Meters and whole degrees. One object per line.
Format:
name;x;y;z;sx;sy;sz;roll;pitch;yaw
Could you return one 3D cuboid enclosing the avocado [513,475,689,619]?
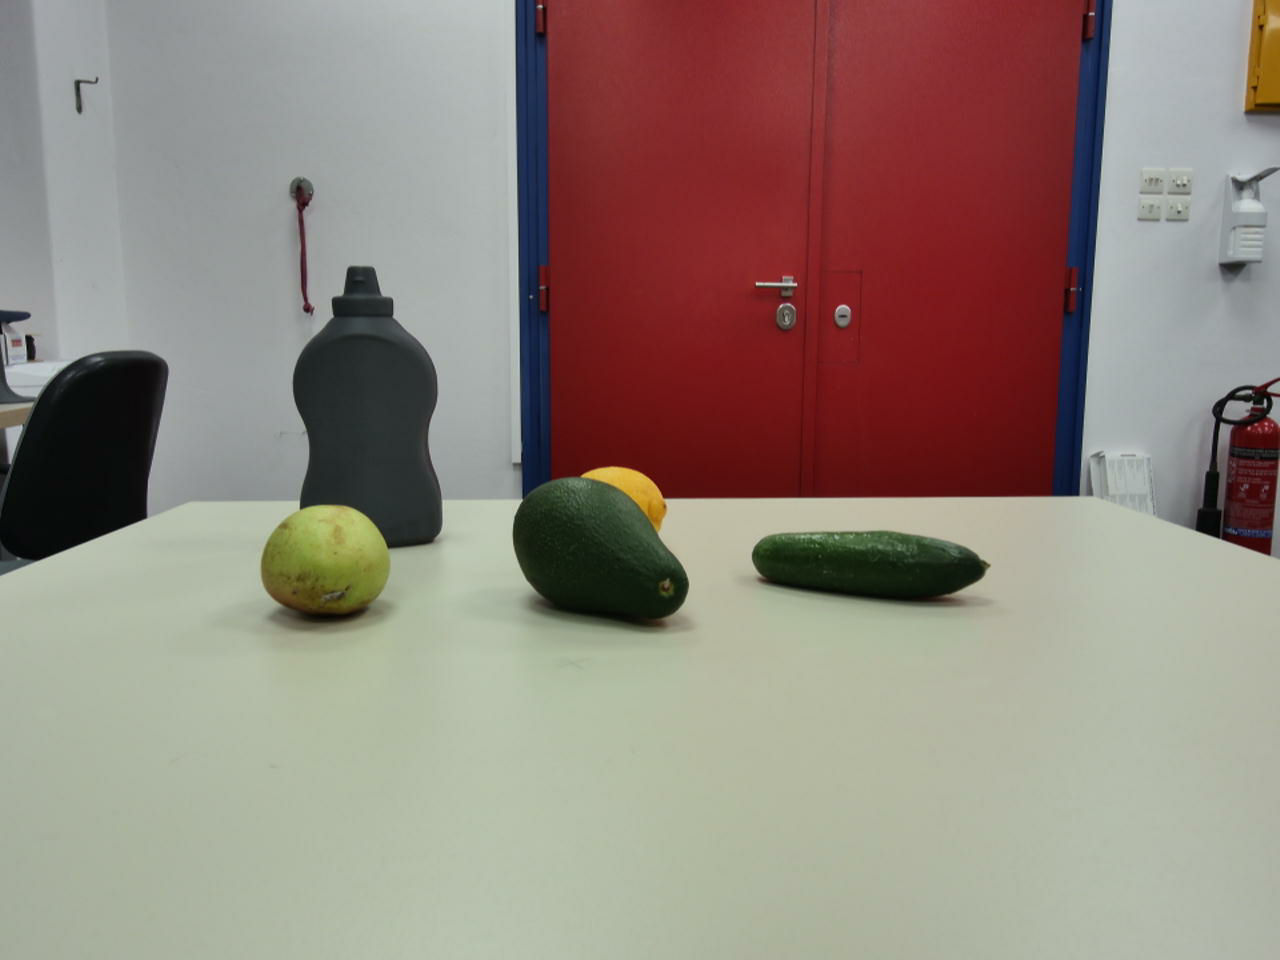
avocado;-0.025;0.035;0.529;0.072;0.071;0.110;-2;7;-23
